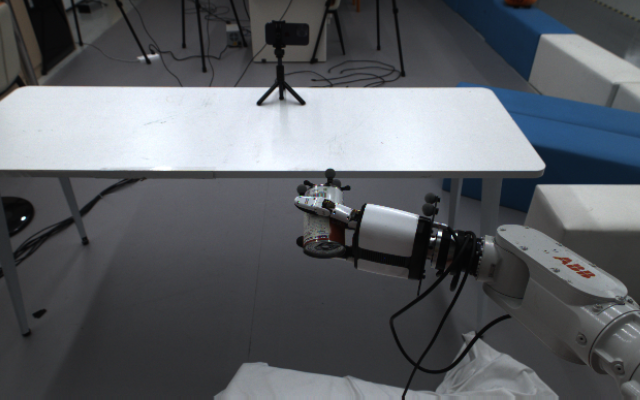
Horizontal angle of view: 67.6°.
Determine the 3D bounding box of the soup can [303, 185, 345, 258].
[{"bbox_3d":[0.008,0.035,0.773,0.067,0.067,0.101,1,62,-2],"label":"soup can"}]
